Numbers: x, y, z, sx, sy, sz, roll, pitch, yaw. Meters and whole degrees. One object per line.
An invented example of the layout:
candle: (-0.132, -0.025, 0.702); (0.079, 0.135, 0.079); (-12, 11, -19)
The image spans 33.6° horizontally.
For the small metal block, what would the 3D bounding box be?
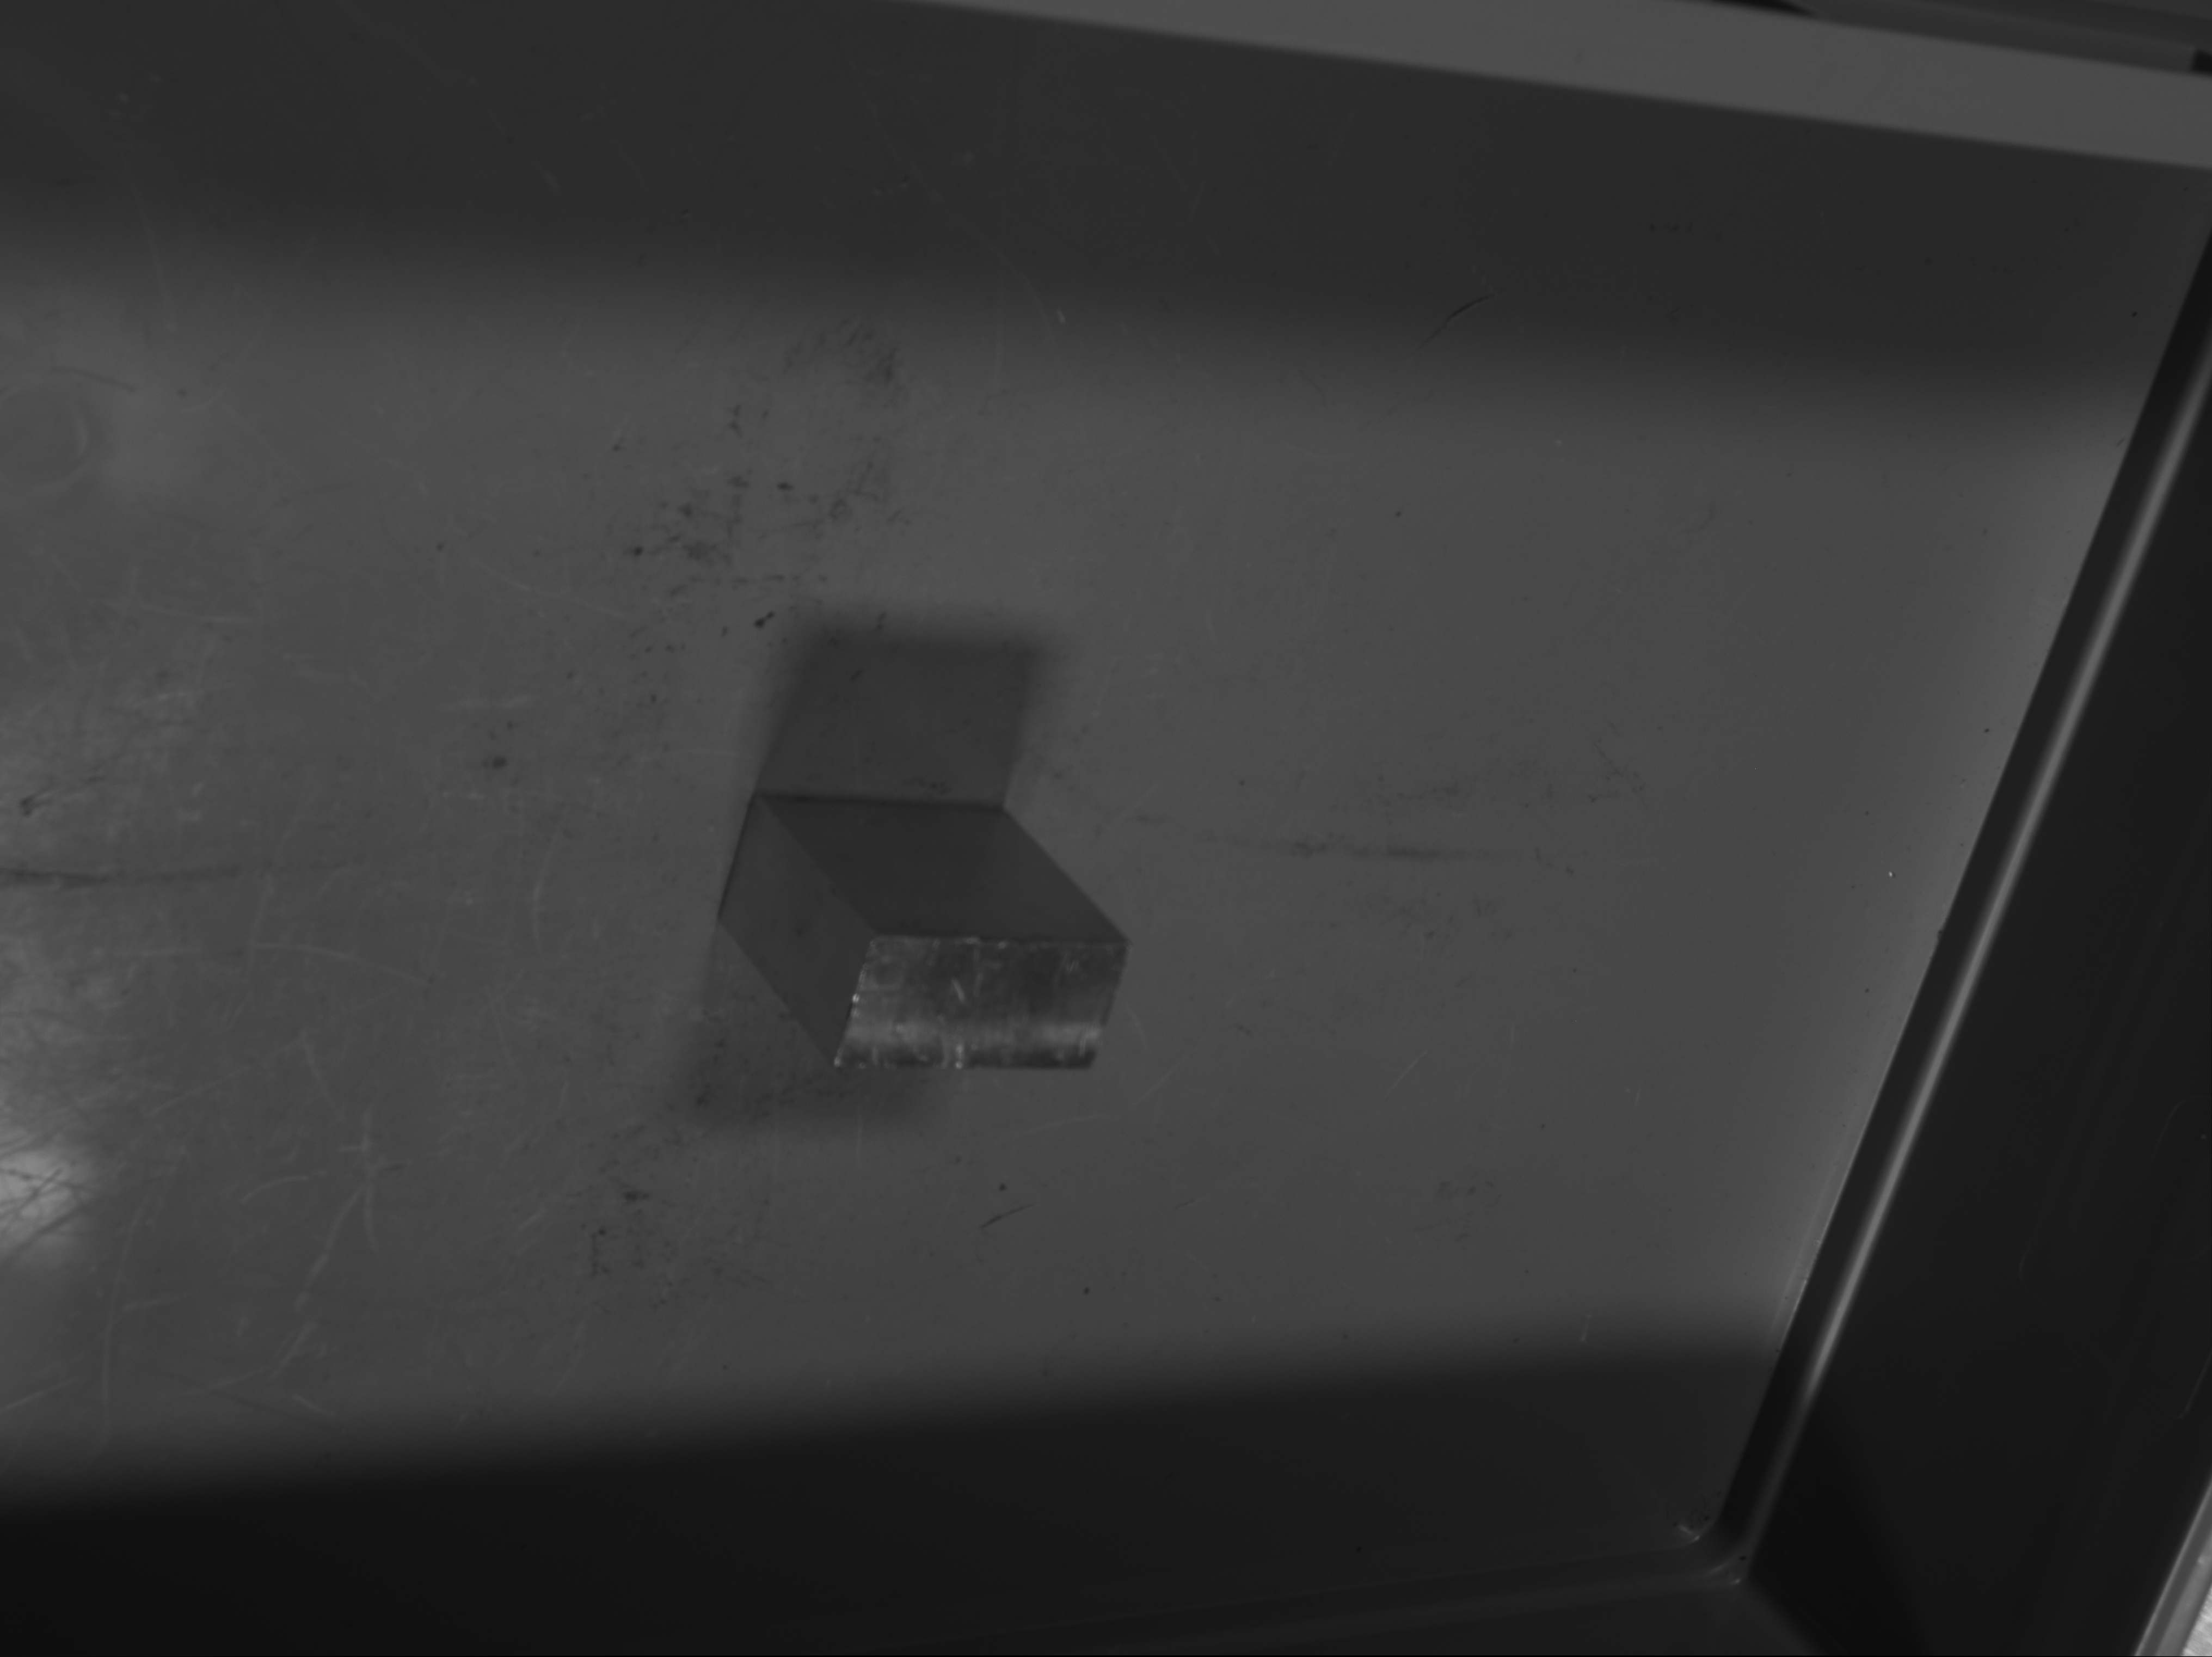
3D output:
small metal block: (-0.025, 0.019, 0.627); (0.050, 0.050, 0.025); (3, 116, -32)
